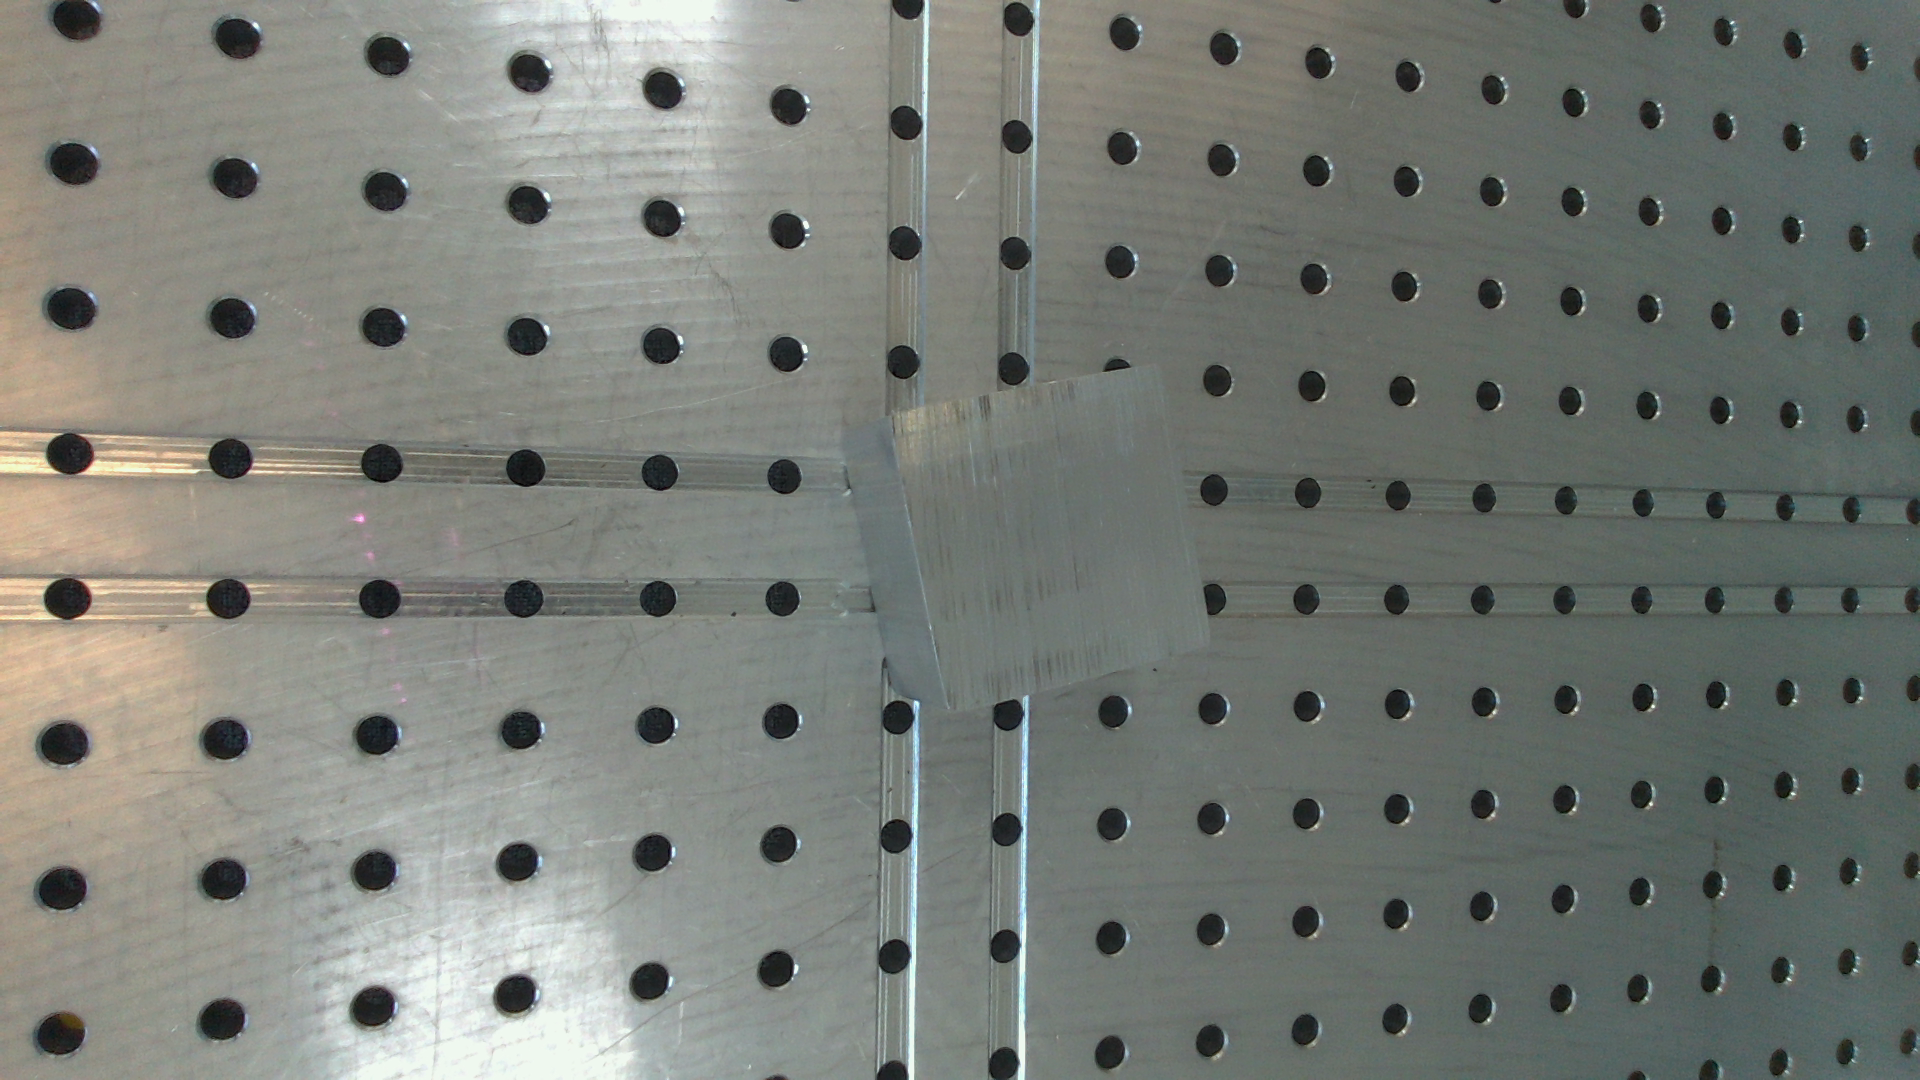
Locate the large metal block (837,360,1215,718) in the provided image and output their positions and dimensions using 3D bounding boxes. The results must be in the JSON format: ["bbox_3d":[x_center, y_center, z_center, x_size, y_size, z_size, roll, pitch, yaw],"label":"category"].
[{"bbox_3d":[0.018,-0.002,0.388,0.080,0.050,0.080,-13,95,-19],"label":"large metal block"}]
